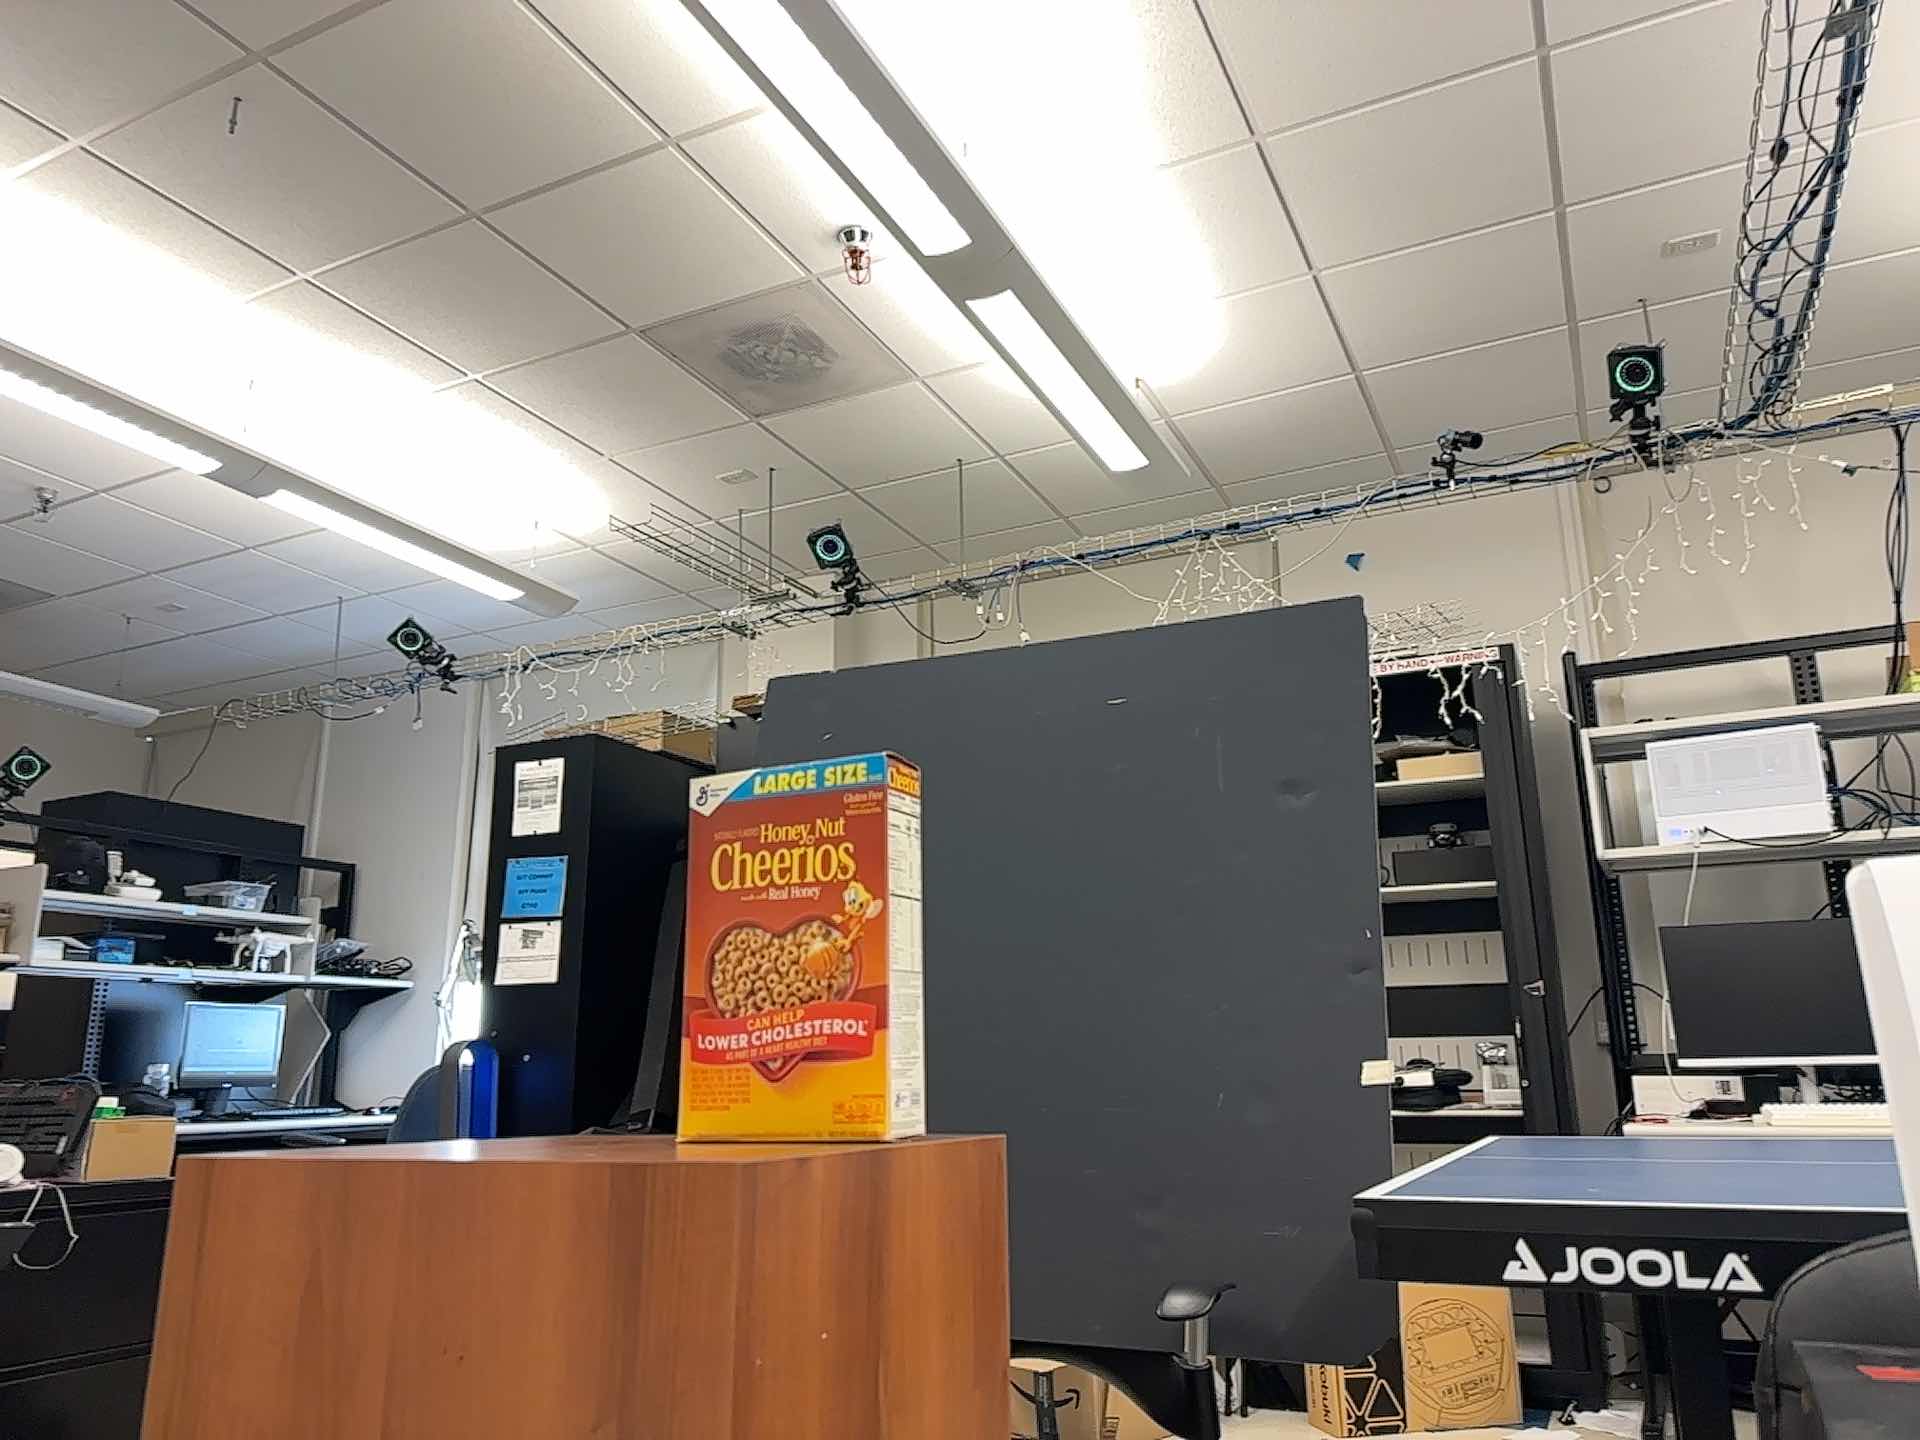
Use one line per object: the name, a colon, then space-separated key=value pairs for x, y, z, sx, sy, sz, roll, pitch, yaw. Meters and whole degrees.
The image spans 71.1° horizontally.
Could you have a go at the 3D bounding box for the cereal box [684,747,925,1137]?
cereal box: x=-0.133 y=0.187 z=1.126 sx=0.195 sy=0.297 sz=0.065 roll=-9 pitch=-14 yaw=31
